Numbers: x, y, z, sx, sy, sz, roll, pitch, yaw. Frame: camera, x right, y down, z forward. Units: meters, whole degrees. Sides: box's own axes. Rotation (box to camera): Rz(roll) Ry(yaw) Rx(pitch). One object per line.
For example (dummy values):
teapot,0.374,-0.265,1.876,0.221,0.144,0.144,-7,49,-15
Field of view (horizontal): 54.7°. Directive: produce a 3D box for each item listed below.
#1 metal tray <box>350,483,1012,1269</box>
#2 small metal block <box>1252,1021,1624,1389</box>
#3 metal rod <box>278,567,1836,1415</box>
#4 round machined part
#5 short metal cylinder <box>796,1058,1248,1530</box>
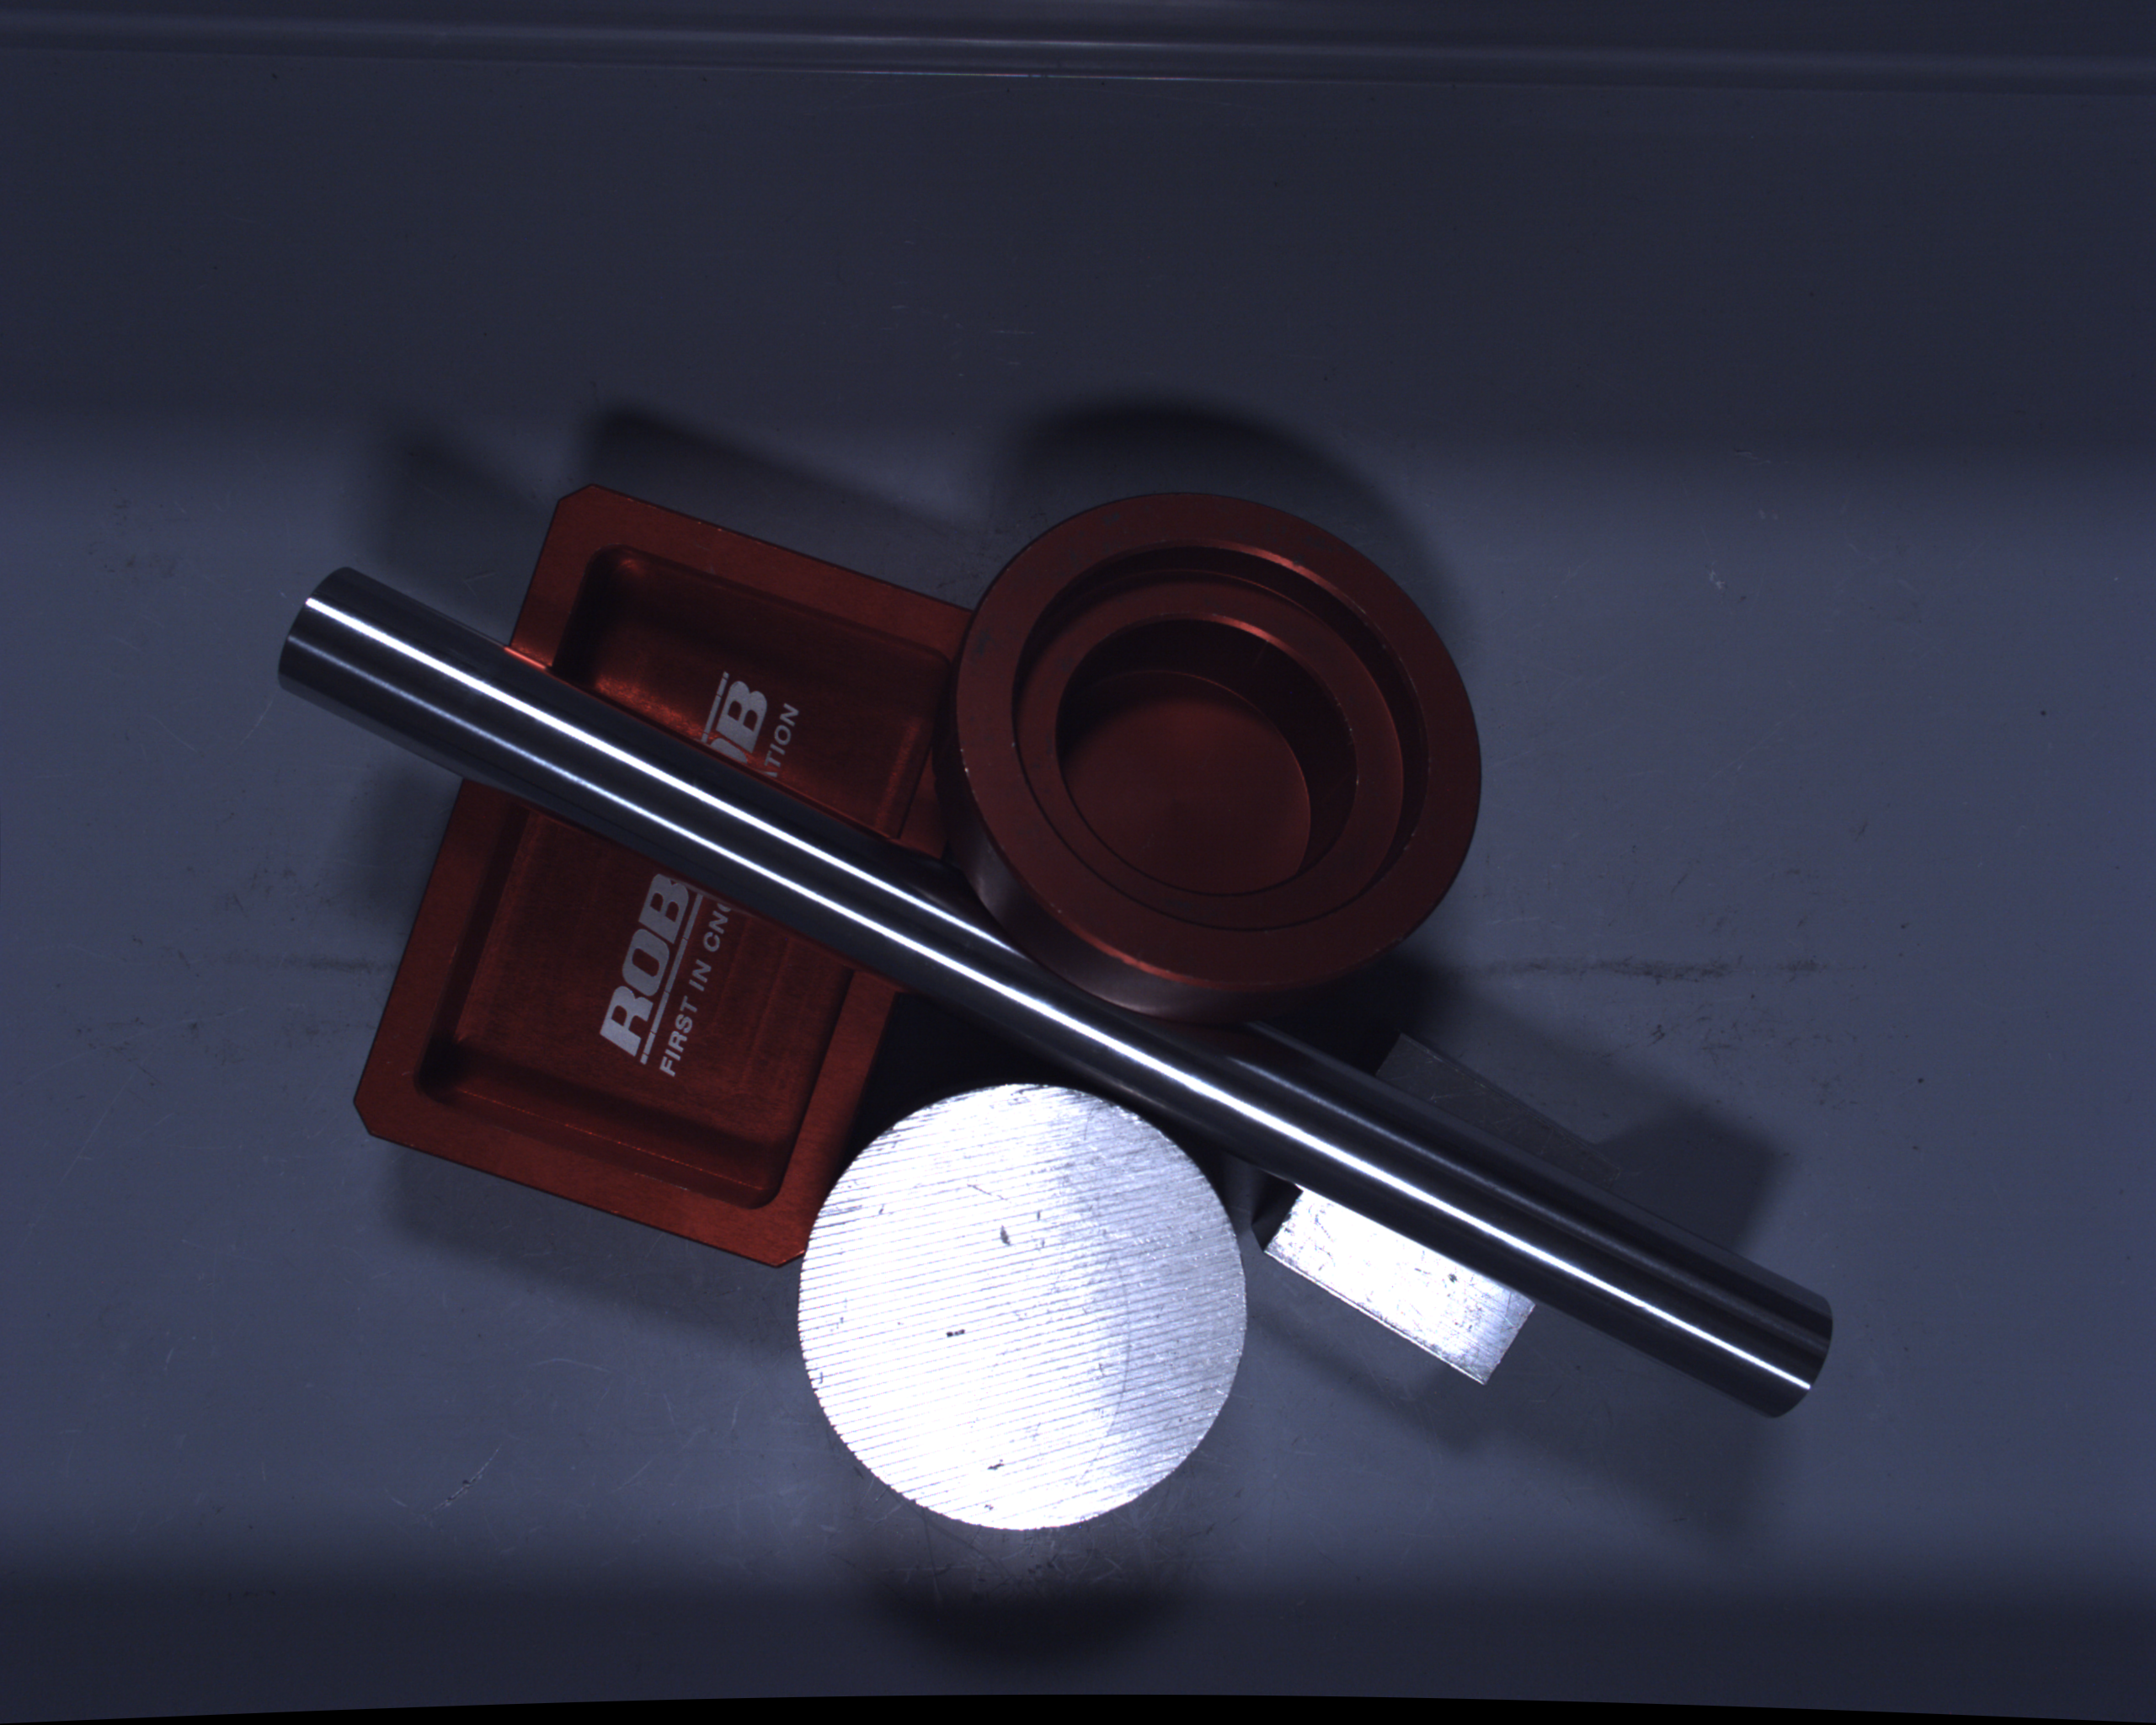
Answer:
metal tray,-0.074,0.002,0.405,0.090,0.030,0.129,19,90,-1
small metal block,0.070,0.066,0.411,0.050,0.025,0.050,32,90,-1
metal rod,-0.001,0.025,0.381,0.301,0.025,0.025,26,90,-3
round machined part,0.022,-0.016,0.389,0.099,0.042,0.098,5,67,-12
short metal cylinder,-0.010,0.079,0.397,0.081,0.050,0.079,0,90,-1
